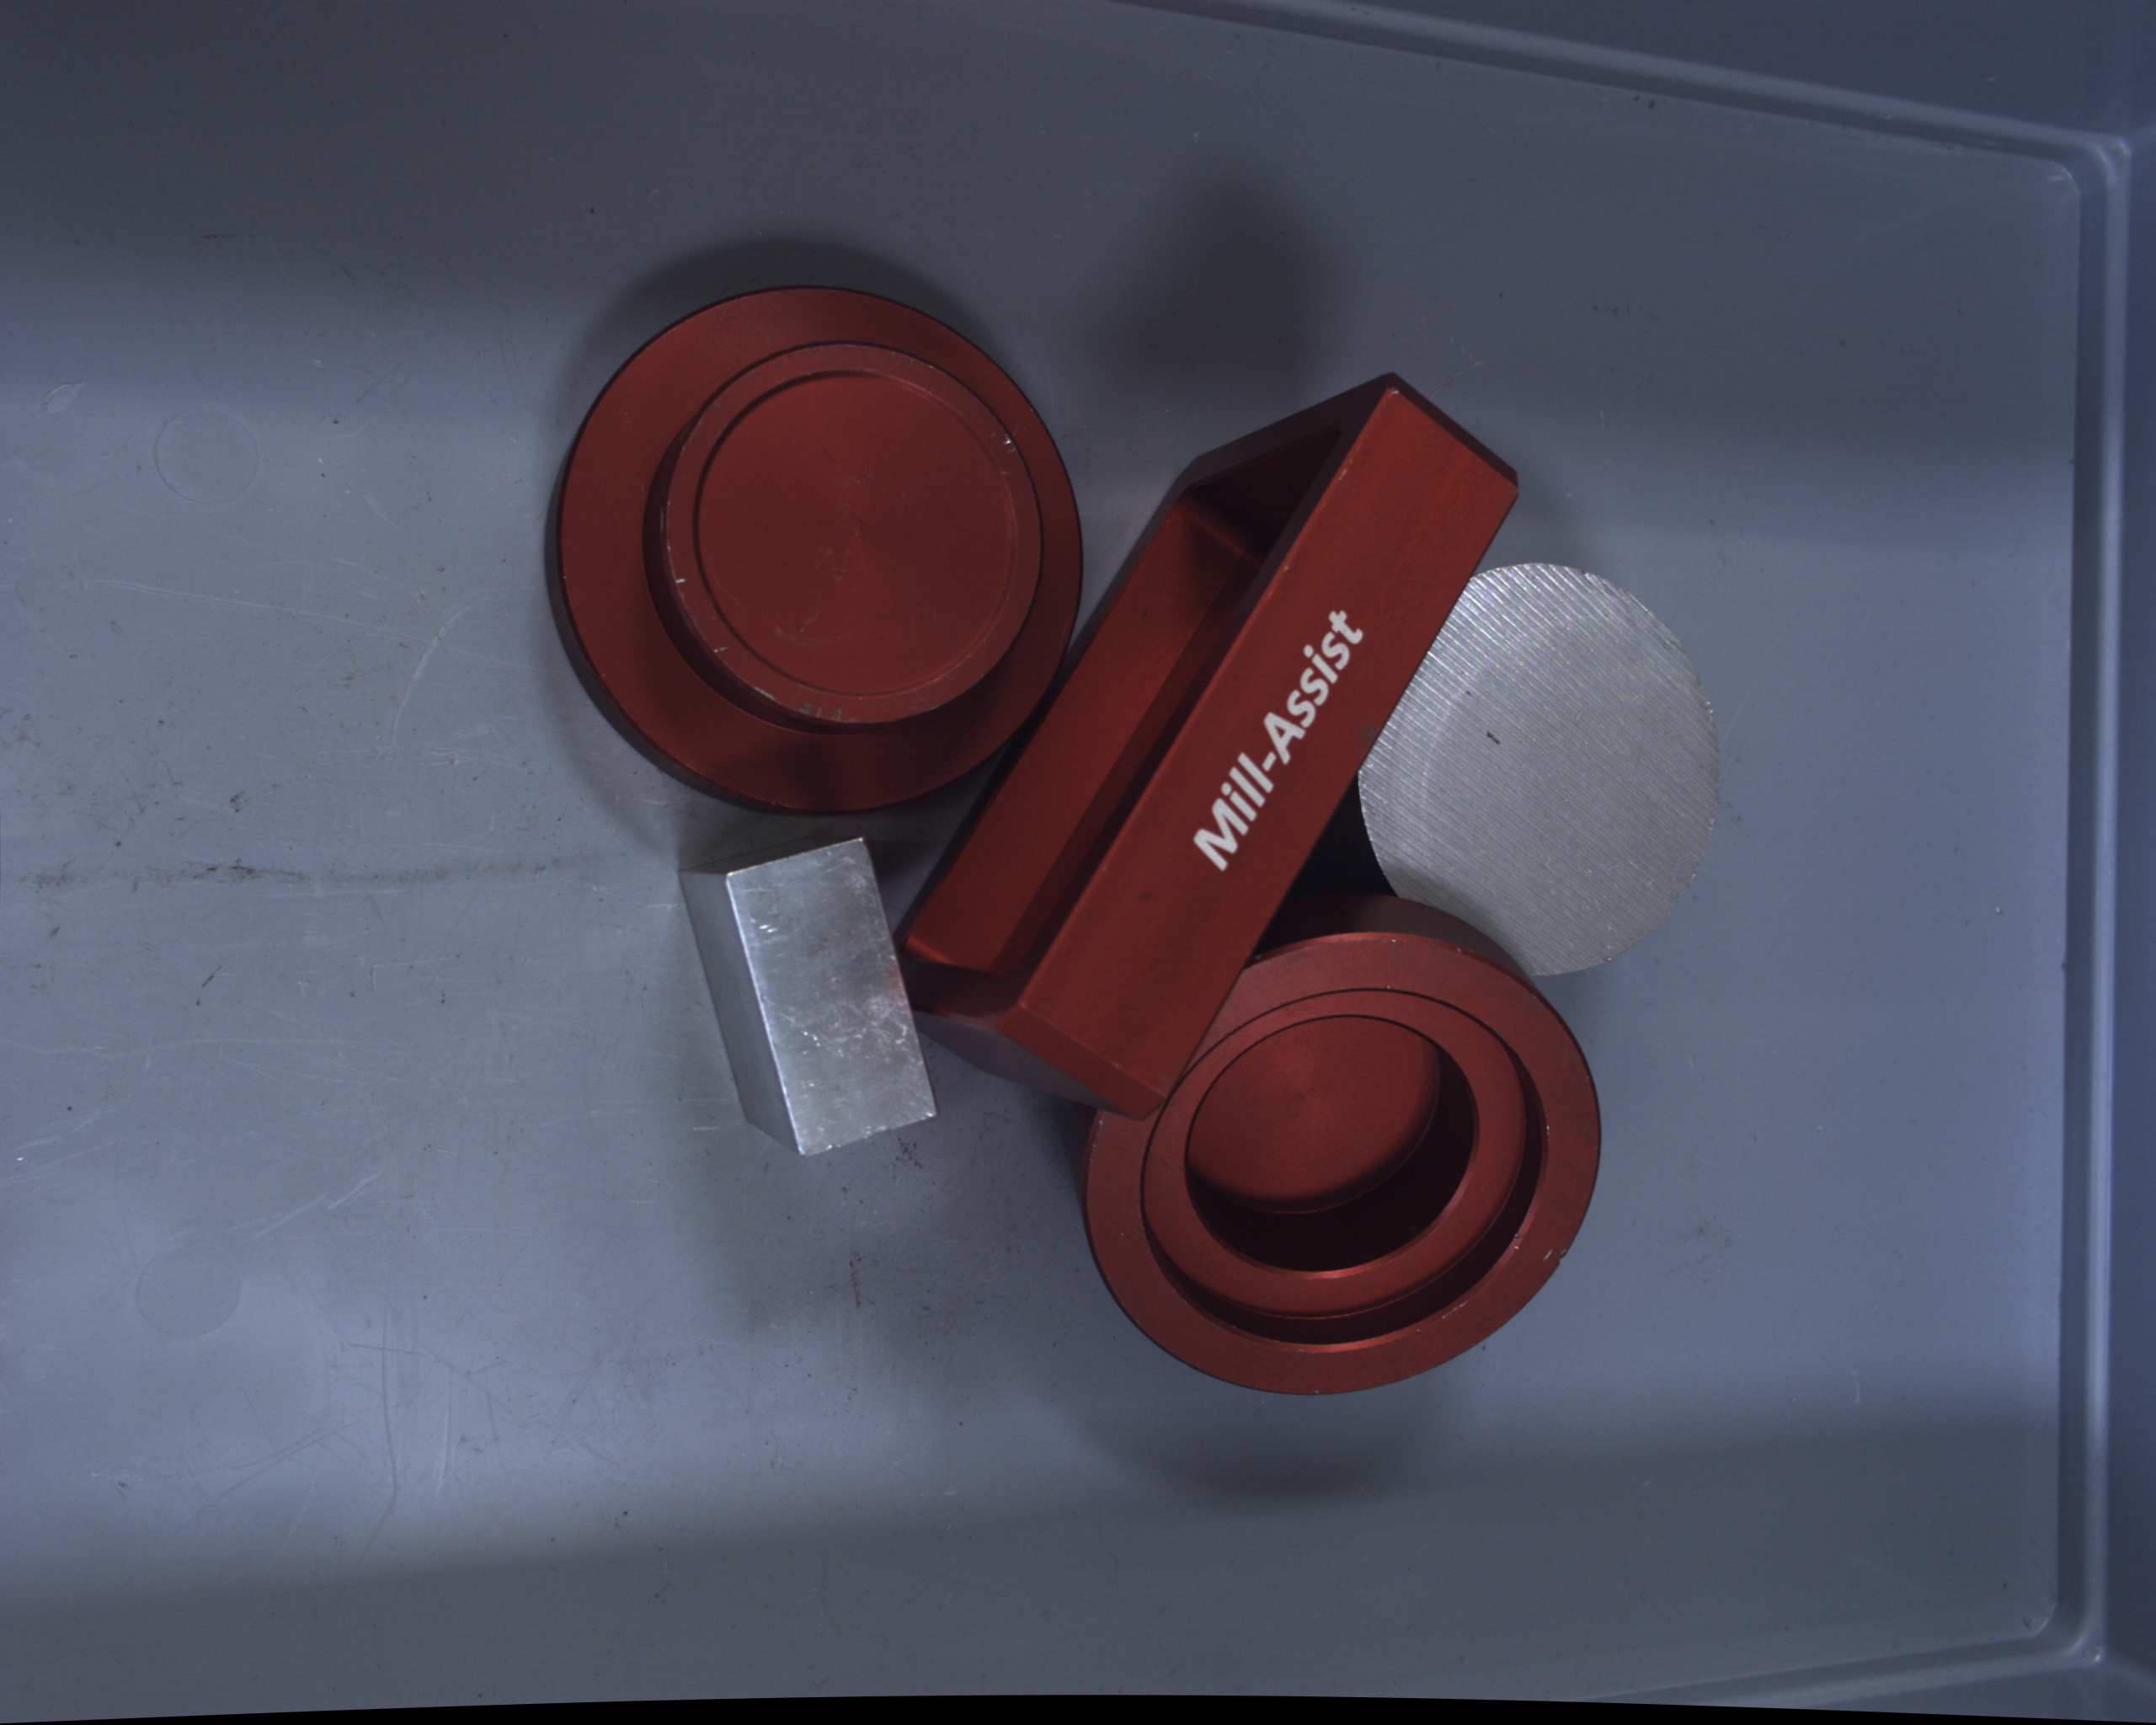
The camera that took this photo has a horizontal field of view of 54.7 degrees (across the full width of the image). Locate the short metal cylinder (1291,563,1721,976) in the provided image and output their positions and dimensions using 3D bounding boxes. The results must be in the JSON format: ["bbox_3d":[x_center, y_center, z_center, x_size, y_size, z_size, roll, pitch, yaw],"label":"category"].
[{"bbox_3d":[0.082,-0.018,0.425,0.081,0.050,0.079,0,90,-20],"label":"short metal cylinder"}]

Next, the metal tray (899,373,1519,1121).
[{"bbox_3d":[0.017,-0.021,0.380,0.030,0.090,0.130,35,79,-17],"label":"metal tray"}]

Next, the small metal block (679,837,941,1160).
[{"bbox_3d":[-0.050,0.023,0.377,0.025,0.050,0.050,-16,96,-19],"label":"small metal block"}]

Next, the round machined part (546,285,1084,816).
[{"bbox_3d":[-0.045,-0.057,0.382,0.099,0.042,0.097,0,90,-20],"label":"round machined part"}]

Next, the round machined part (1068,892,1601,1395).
[{"bbox_3d":[0.047,0.050,0.405,0.099,0.042,0.097,-3,111,-8],"label":"round machined part"}]
